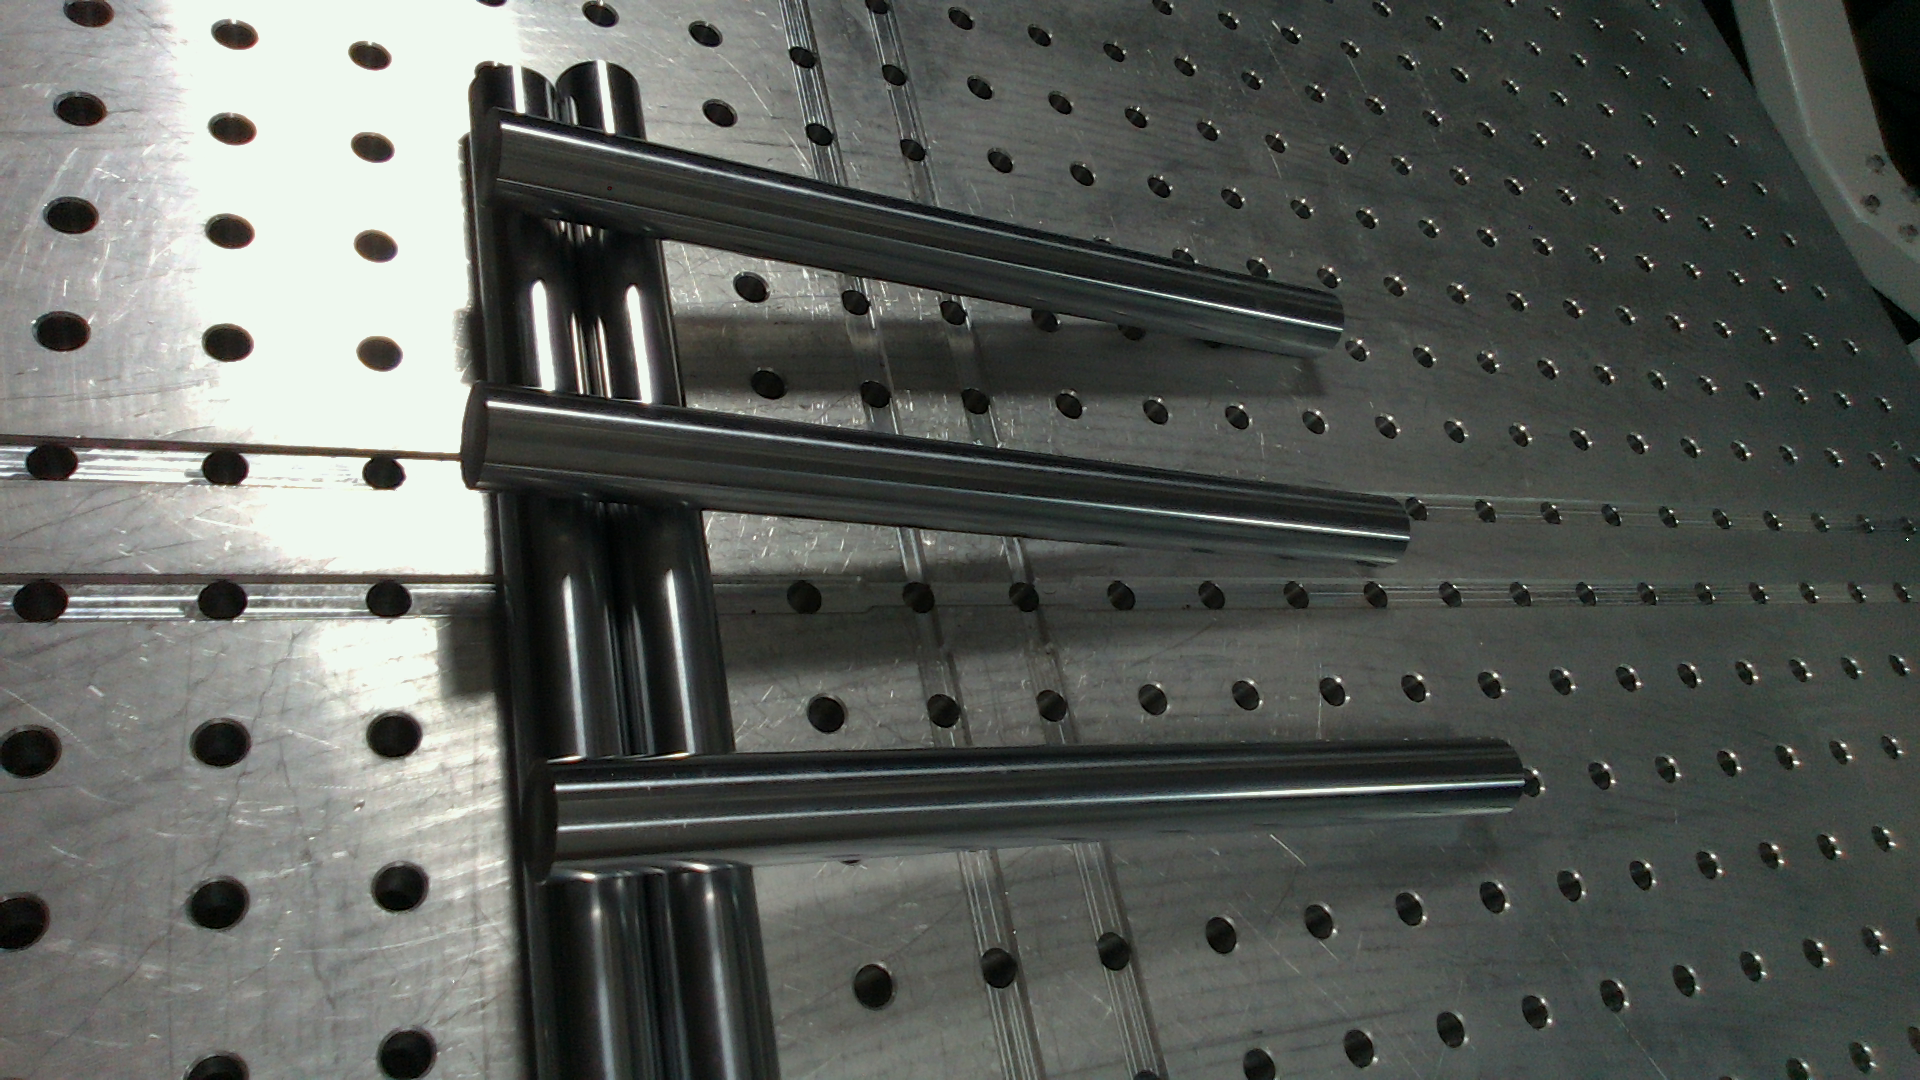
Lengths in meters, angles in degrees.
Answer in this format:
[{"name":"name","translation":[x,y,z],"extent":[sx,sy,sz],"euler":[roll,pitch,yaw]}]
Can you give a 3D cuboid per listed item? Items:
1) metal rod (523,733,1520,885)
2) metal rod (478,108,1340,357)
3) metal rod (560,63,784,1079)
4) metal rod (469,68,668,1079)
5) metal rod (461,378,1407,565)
[{"name":"metal rod","translation":[0.042,0.065,0.357],"extent":[0.301,0.025,0.025],"euler":[4,60,-33]},{"name":"metal rod","translation":[0.007,-0.089,0.432],"extent":[0.301,0.025,0.025],"euler":[4,60,-33]},{"name":"metal rod","translation":[-0.078,-0.003,0.351],"extent":[0.025,0.025,0.300],"euler":[1,61,-28]},{"name":"metal rod","translation":[-0.099,0.004,0.337],"extent":[0.025,0.025,0.300],"euler":[1,61,-28]},{"name":"metal rod","translation":[0.017,-0.014,0.390],"extent":[0.301,0.025,0.025],"euler":[5,59,-33]}]
